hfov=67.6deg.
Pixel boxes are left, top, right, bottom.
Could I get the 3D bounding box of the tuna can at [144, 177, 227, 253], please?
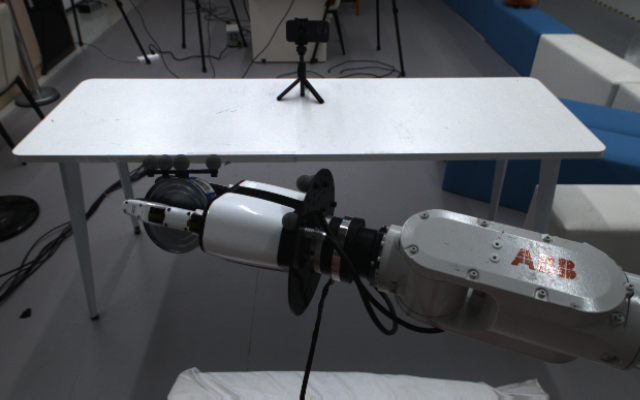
[{"bbox_3d":[-0.154,0.017,0.551,0.085,0.085,0.034,12,8,13],"label":"tuna can"}]
